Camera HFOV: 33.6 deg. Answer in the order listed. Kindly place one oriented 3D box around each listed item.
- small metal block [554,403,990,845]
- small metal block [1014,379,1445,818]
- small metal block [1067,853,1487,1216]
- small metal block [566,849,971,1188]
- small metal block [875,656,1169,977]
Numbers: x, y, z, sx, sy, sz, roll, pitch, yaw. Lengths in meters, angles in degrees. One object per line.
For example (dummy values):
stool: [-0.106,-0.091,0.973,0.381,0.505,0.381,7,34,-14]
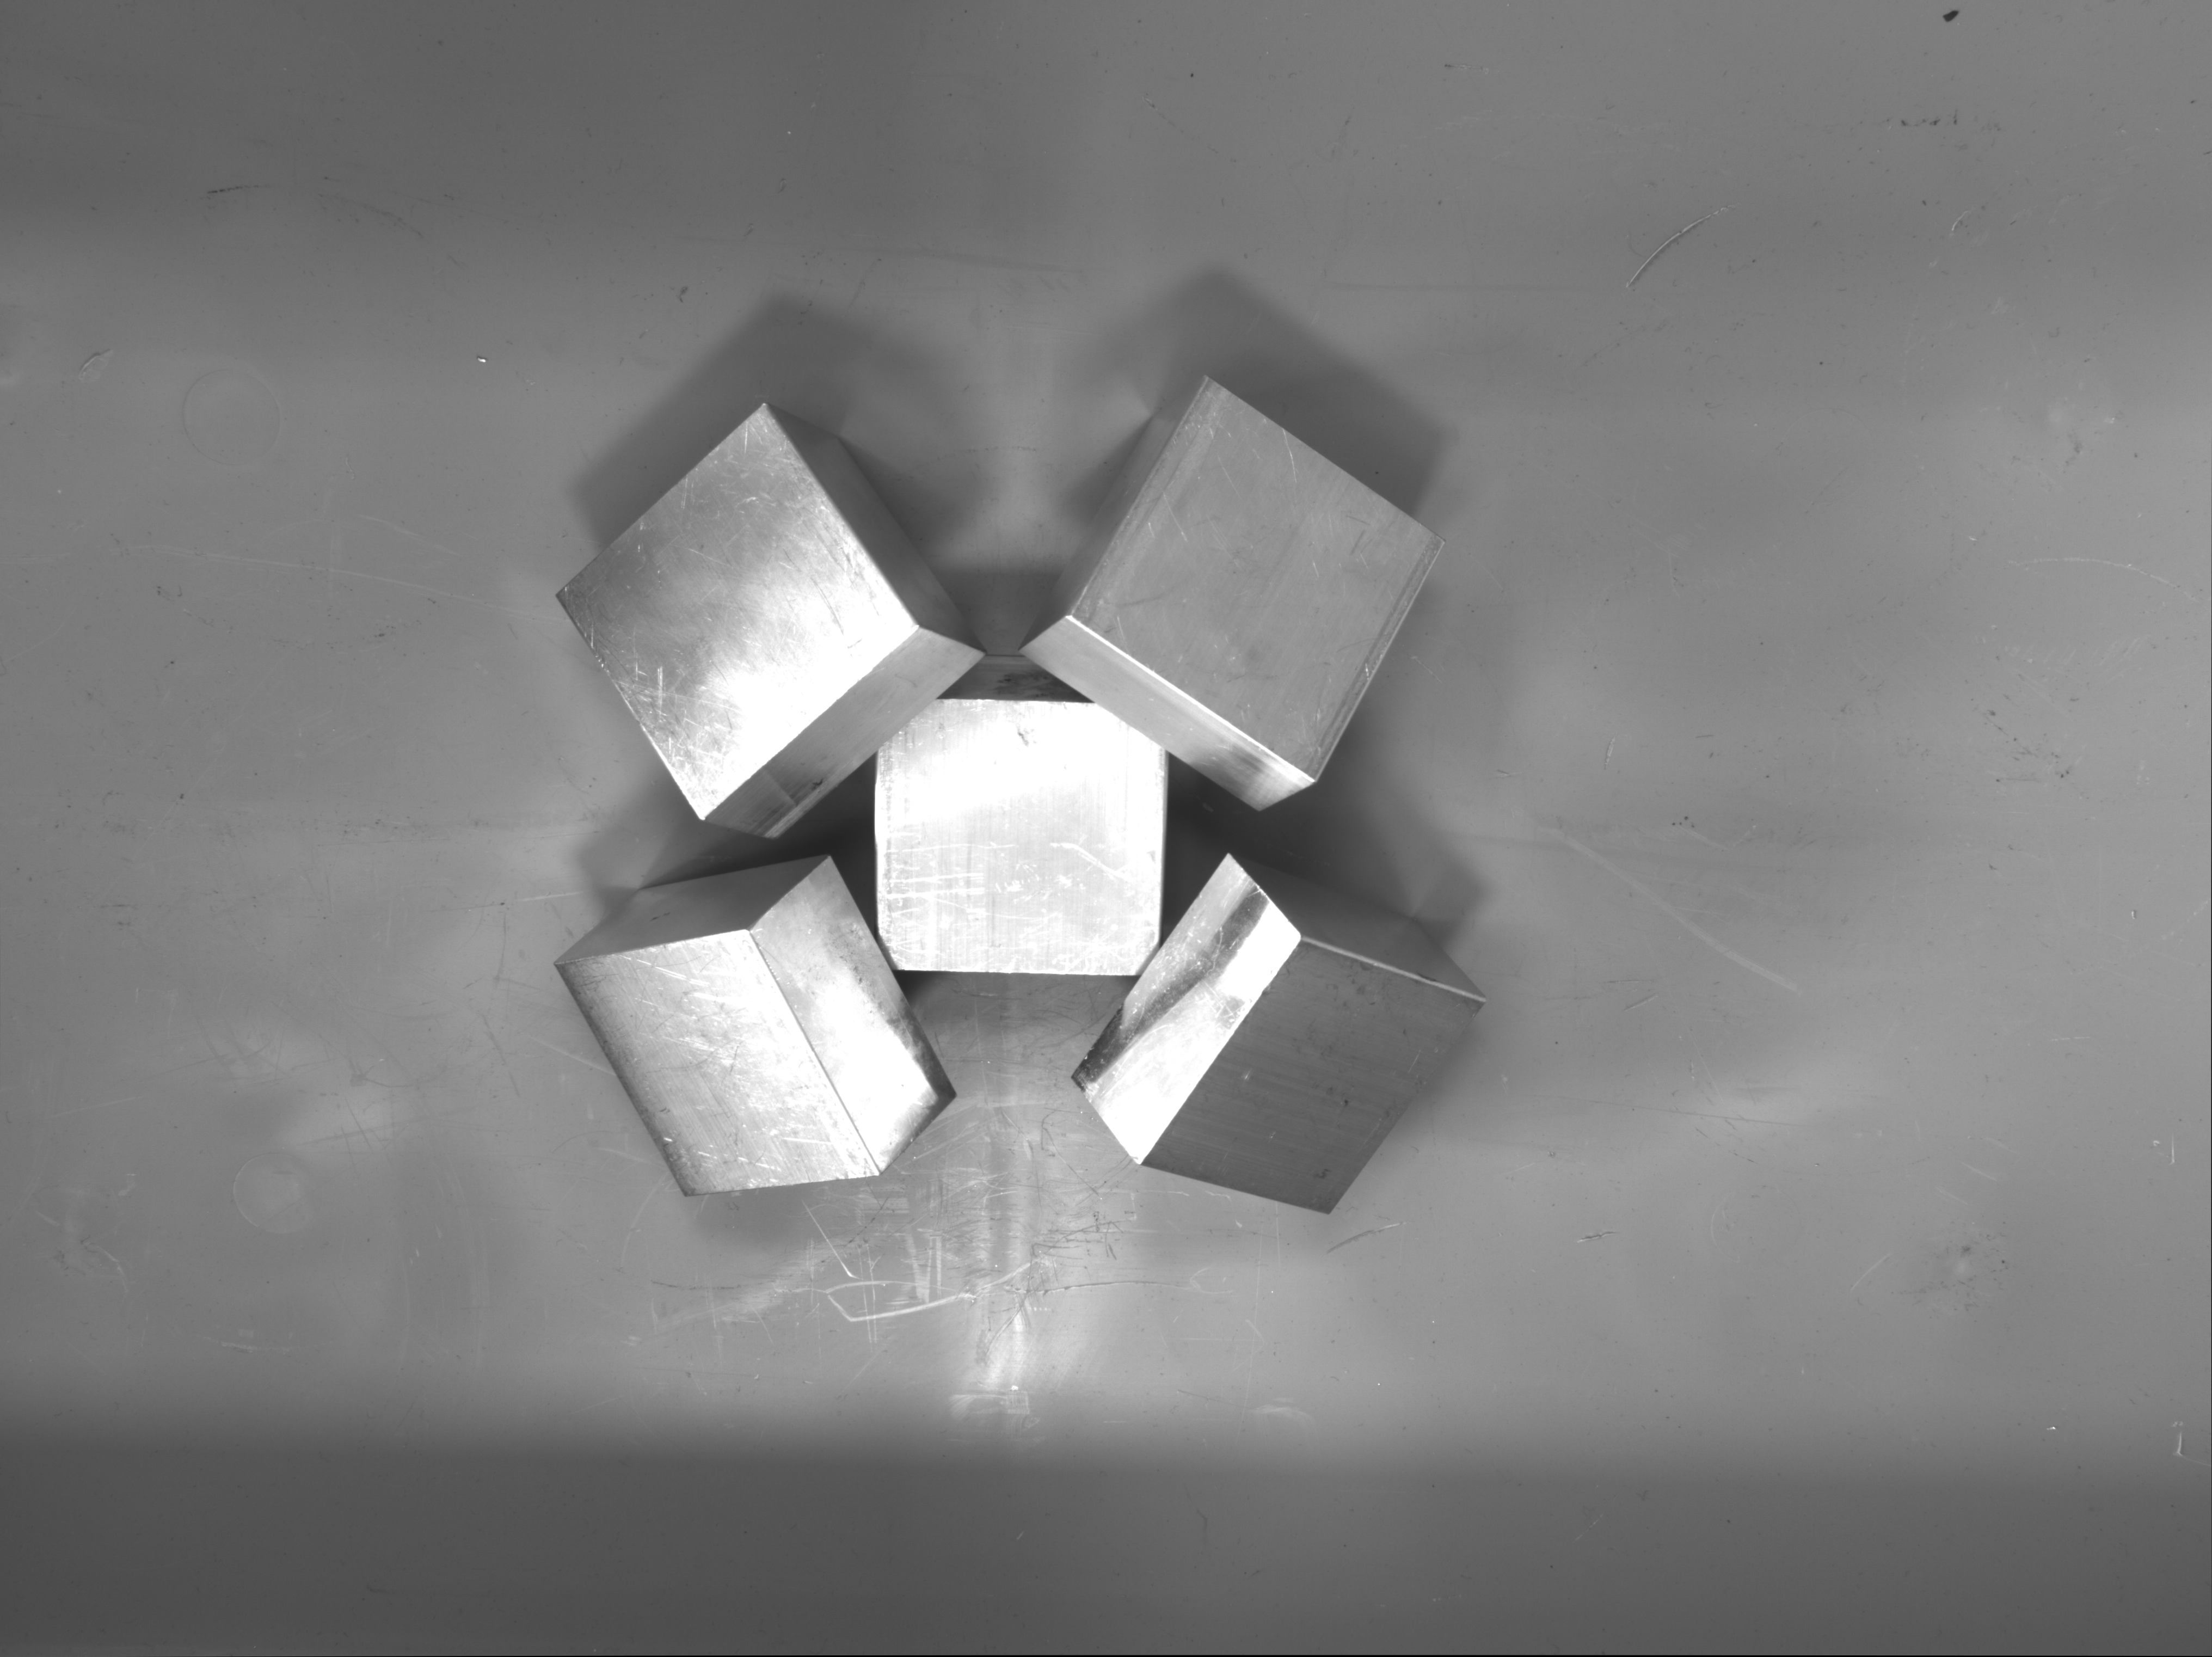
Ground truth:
small metal block: [-0.056,-0.034,0.616,0.050,0.025,0.050,-41,68,14]
small metal block: [0.021,-0.038,0.615,0.050,0.025,0.050,33,69,-12]
small metal block: [0.030,0.037,0.643,0.050,0.025,0.050,19,113,-43]
small metal block: [-0.059,0.034,0.642,0.050,0.025,0.050,-9,115,44]
small metal block: [-0.015,-0.002,0.640,0.050,0.025,0.050,1,110,-1]
